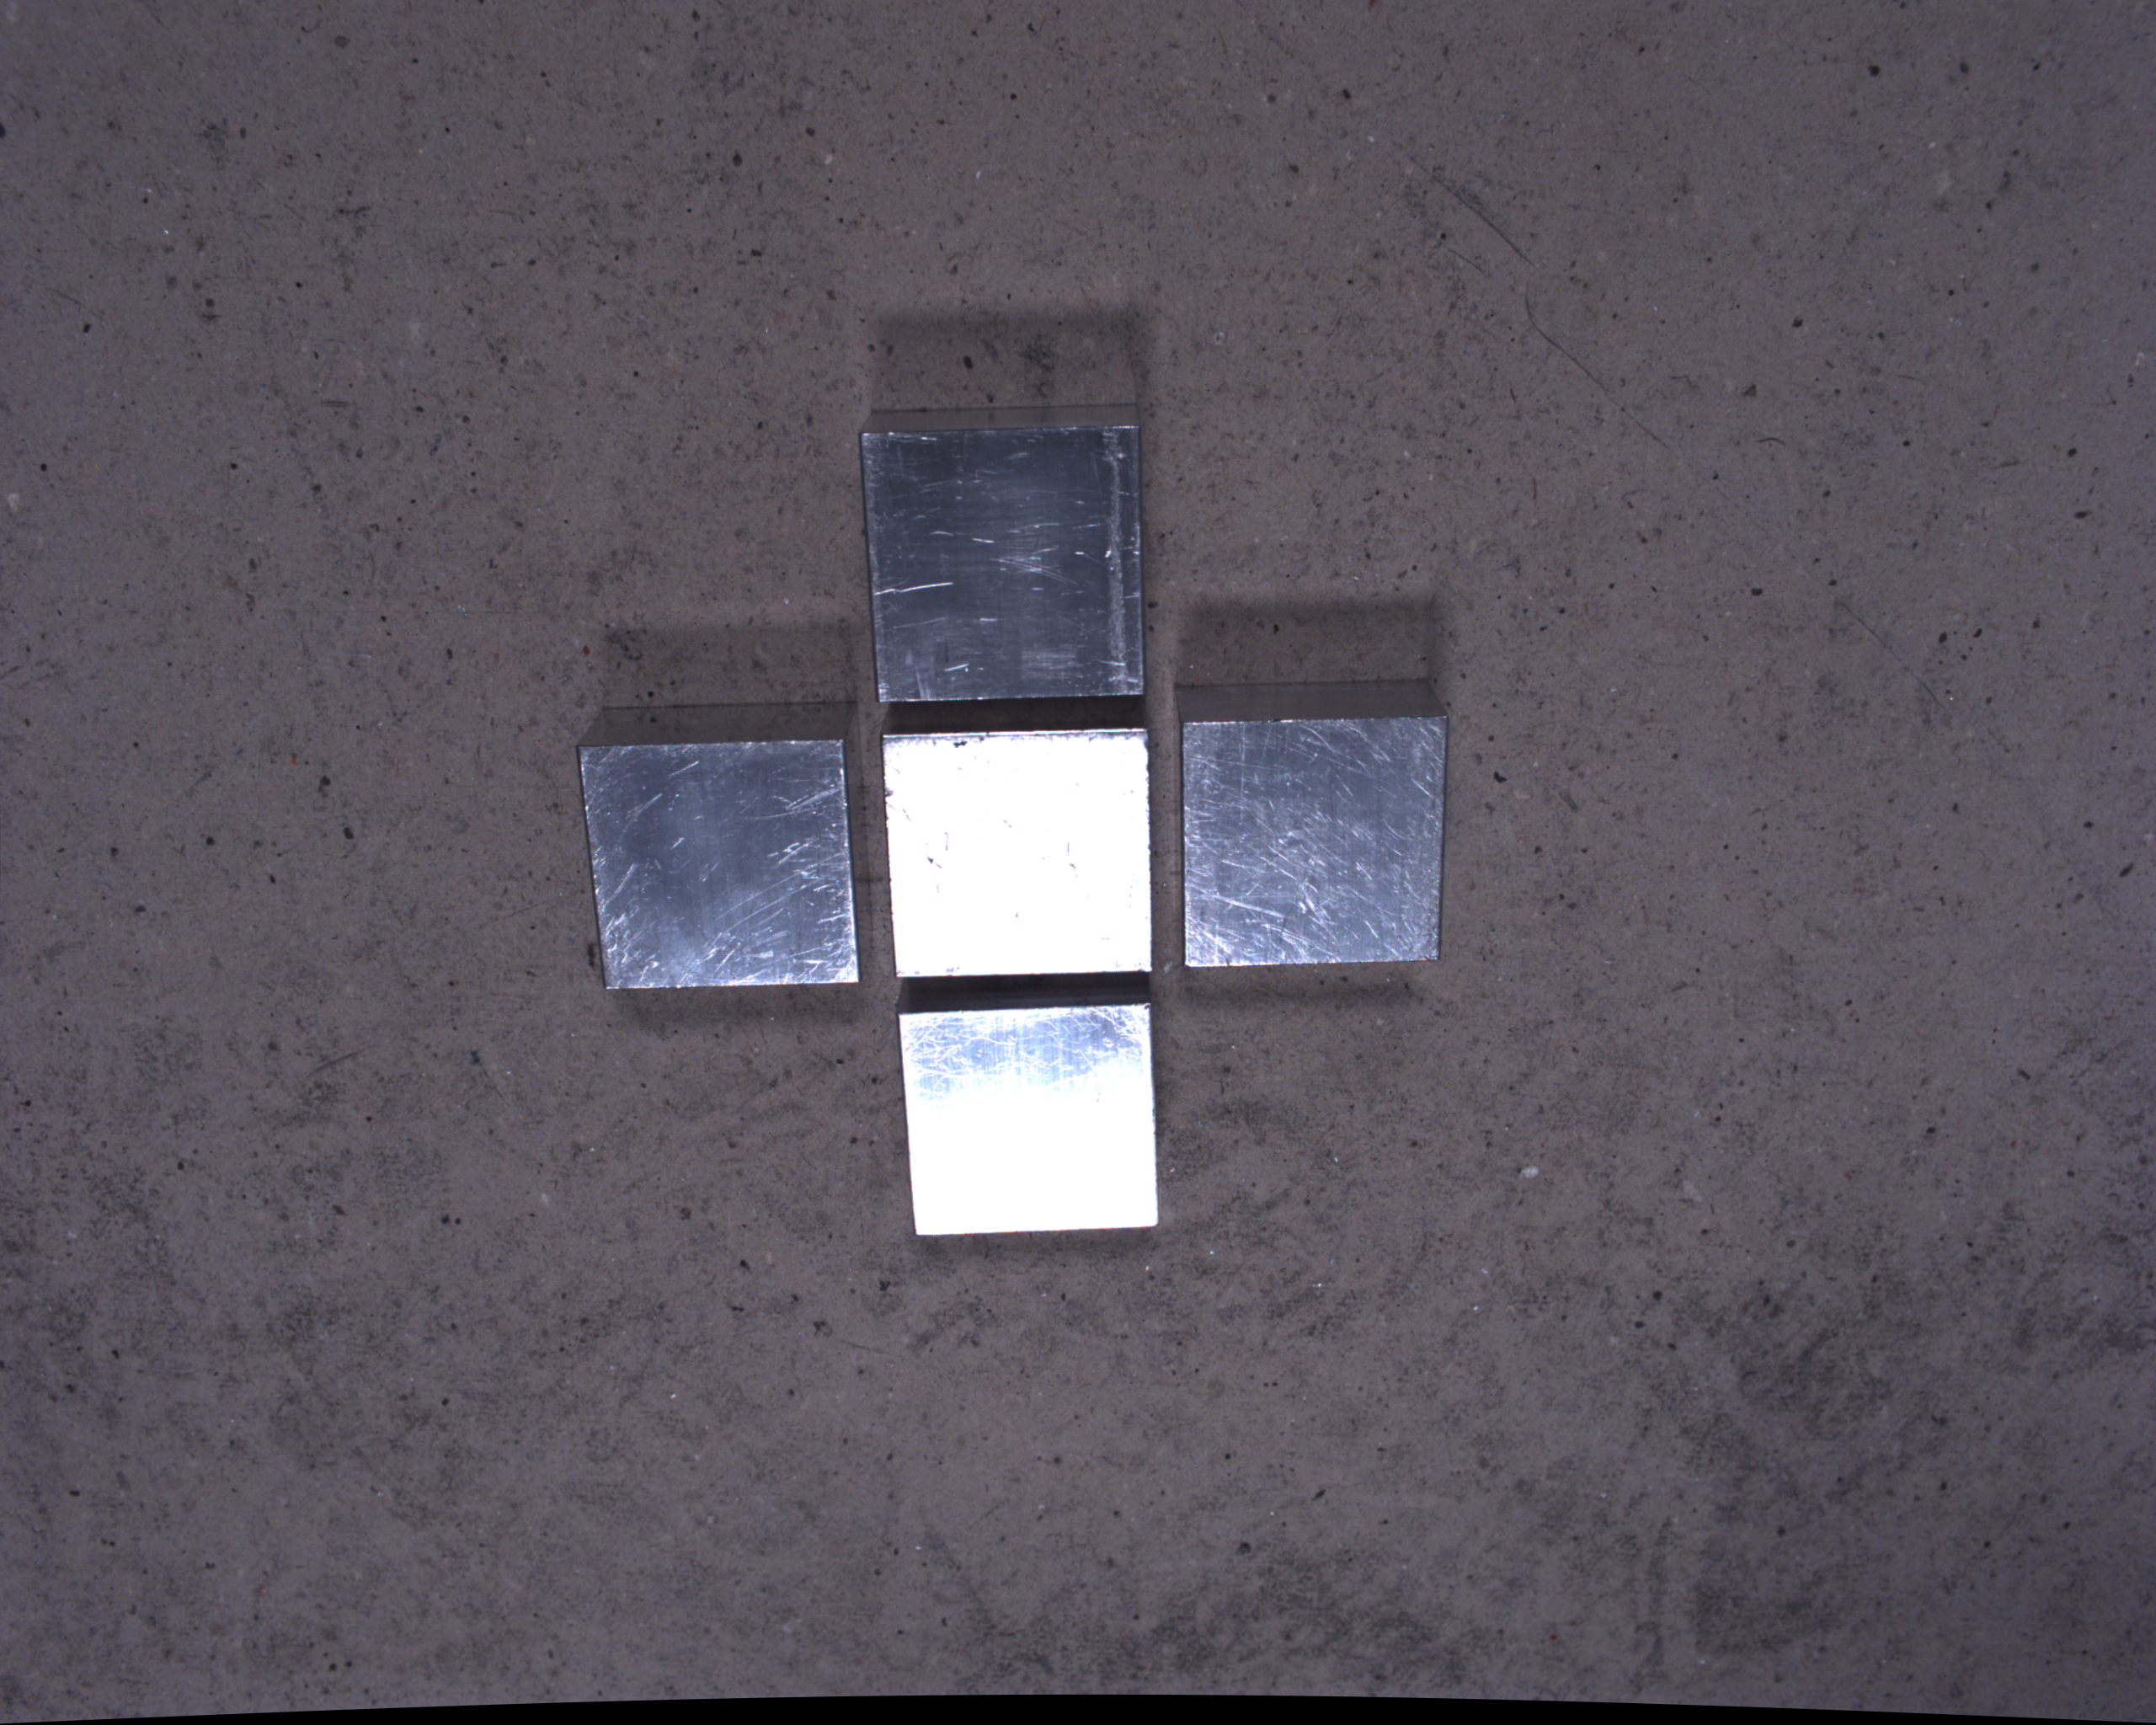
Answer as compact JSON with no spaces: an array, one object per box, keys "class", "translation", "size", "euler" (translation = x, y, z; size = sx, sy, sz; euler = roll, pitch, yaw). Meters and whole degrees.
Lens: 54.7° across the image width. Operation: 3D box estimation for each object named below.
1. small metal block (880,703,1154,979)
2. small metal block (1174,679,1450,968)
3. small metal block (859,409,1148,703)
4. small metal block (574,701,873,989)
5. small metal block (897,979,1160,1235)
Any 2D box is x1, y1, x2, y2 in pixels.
[{"class":"small metal block","translation":[-0.011,-0.006,0.409],"size":[0.050,0.025,0.050],"euler":[-2,110,0]},{"class":"small metal block","translation":[0.045,-0.008,0.409],"size":[0.050,0.025,0.050],"euler":[-2,110,0]},{"class":"small metal block","translation":[-0.013,-0.058,0.390],"size":[0.050,0.025,0.050],"euler":[-2,110,0]},{"class":"small metal block","translation":[-0.068,-0.004,0.409],"size":[0.050,0.025,0.050],"euler":[-2,110,0]},{"class":"small metal block","translation":[-0.009,0.048,0.429],"size":[0.050,0.025,0.050],"euler":[-2,110,0]}]
